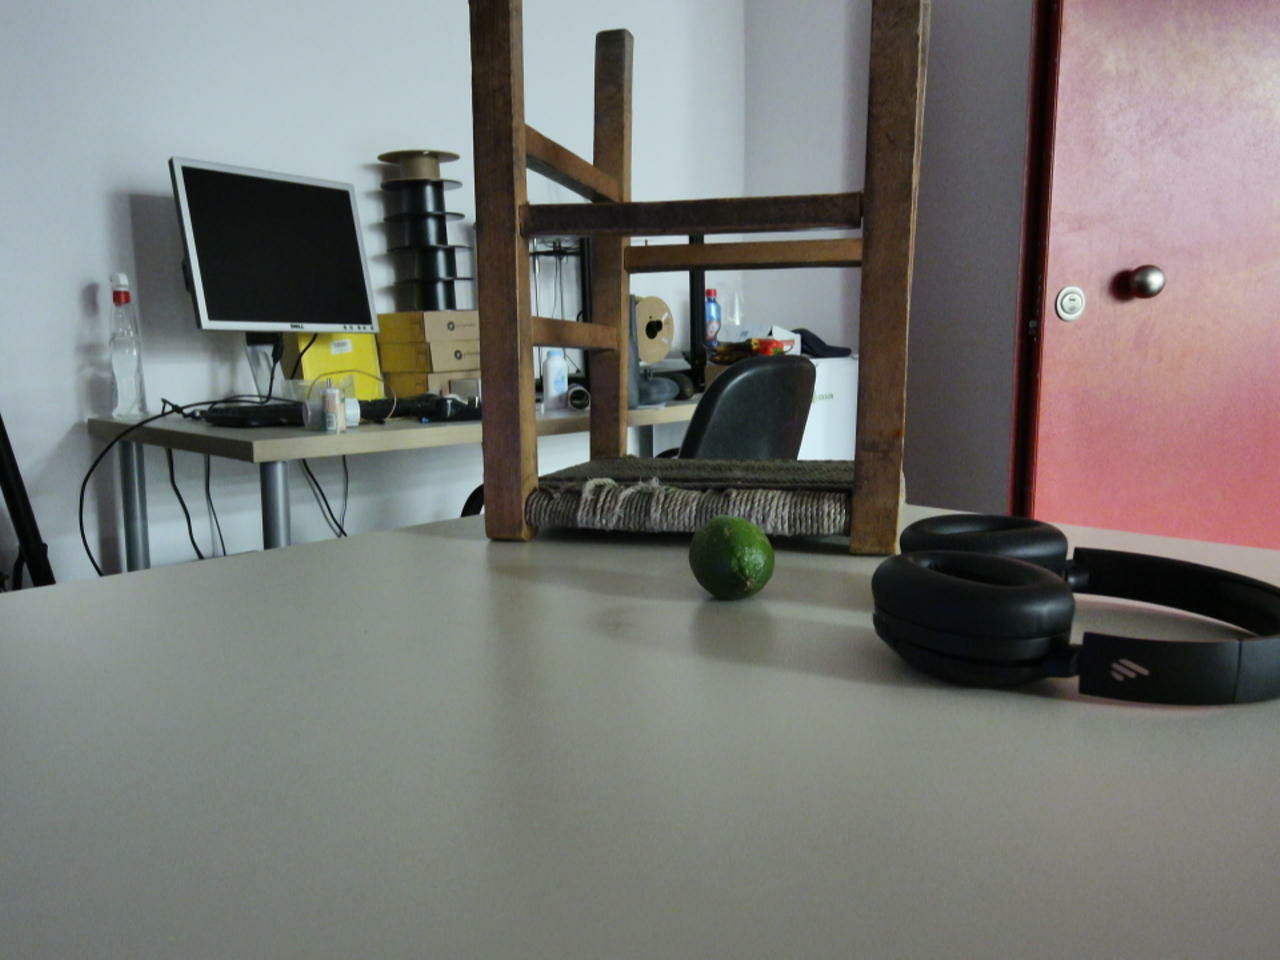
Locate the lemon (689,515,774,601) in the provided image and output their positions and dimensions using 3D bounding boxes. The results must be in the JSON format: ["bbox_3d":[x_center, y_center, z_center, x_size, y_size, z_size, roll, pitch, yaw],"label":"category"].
[{"bbox_3d":[0.058,0.048,0.626,0.057,0.051,0.054,7,9,43],"label":"lemon"}]
